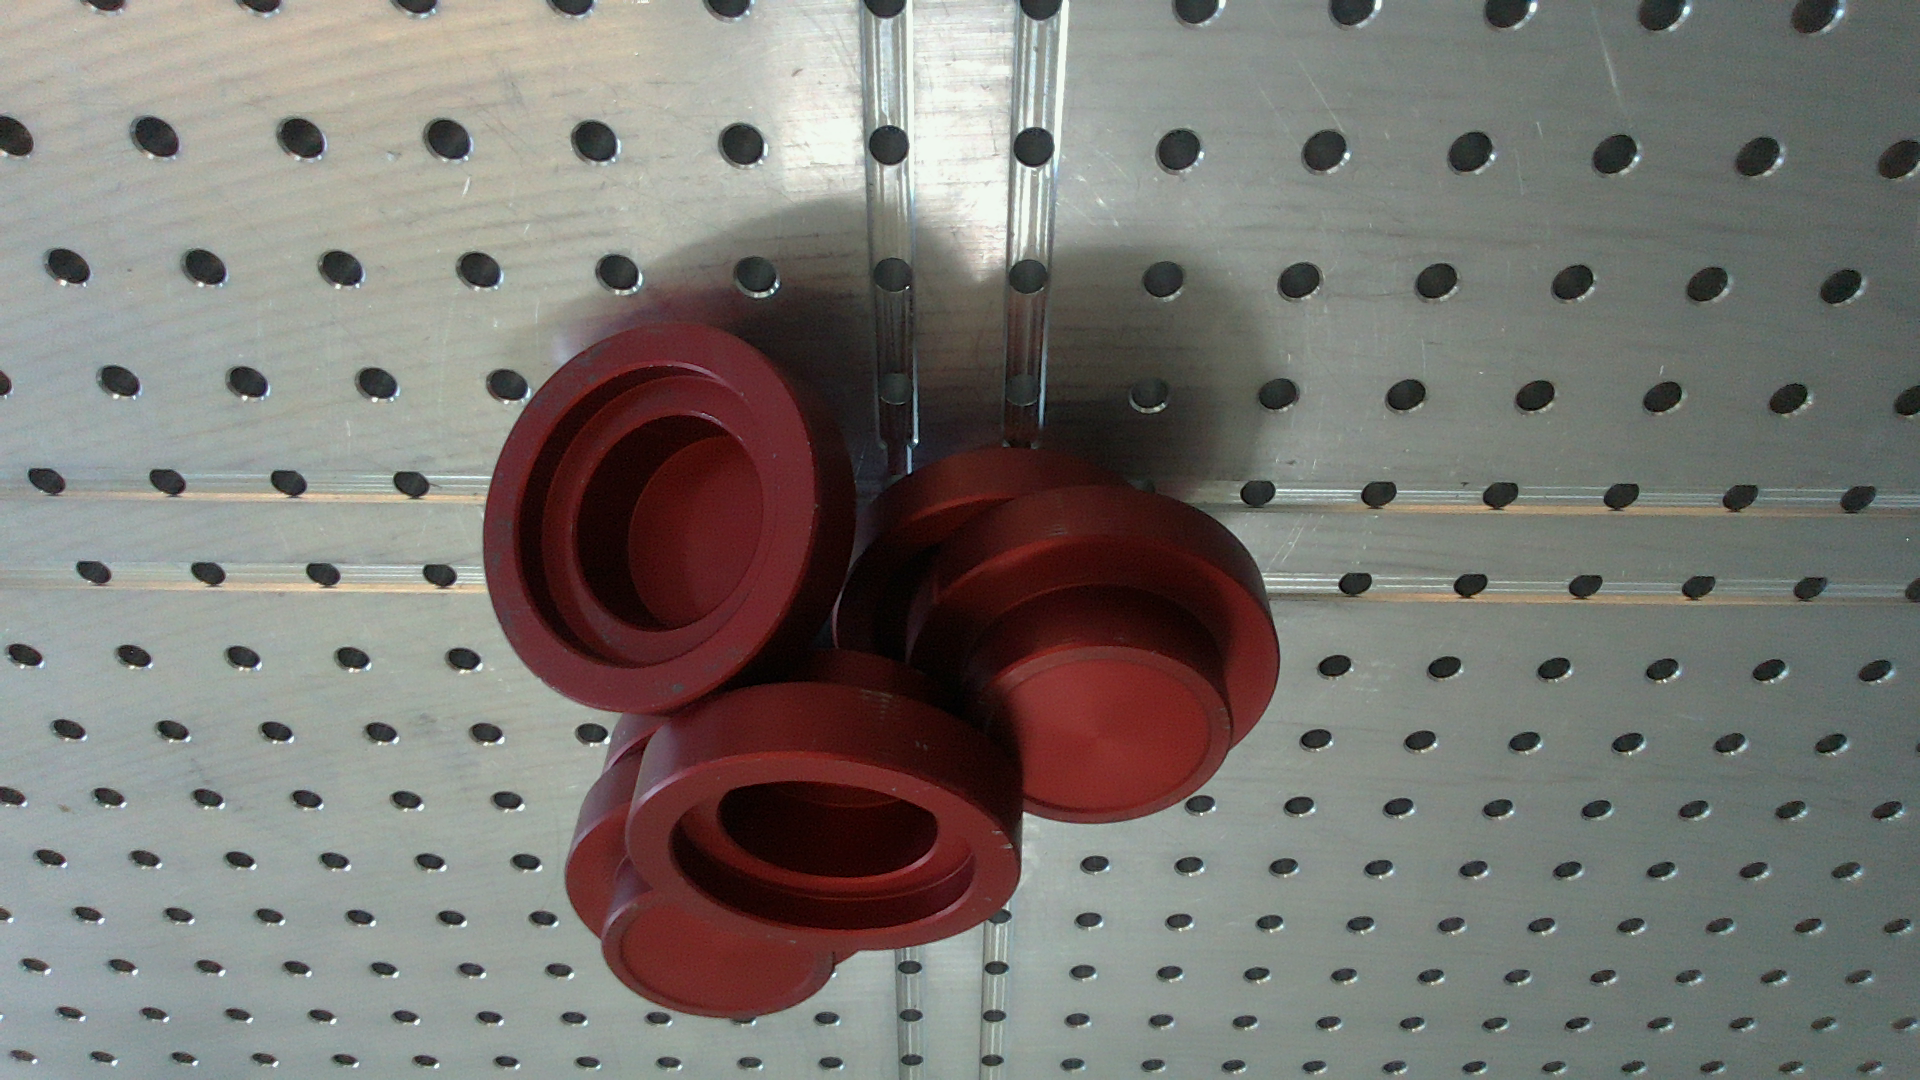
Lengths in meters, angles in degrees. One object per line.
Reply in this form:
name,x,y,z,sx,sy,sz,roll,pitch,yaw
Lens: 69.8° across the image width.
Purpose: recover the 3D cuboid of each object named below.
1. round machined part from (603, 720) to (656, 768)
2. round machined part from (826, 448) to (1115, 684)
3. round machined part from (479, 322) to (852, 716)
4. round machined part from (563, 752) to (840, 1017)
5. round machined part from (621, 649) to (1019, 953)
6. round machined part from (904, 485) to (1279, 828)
round machined part,-0.064,0.087,0.428,0.098,0.042,0.098,0,130,0
round machined part,0.012,0.026,0.377,0.098,0.042,0.098,0,130,0
round machined part,-0.071,-0.003,0.355,0.098,0.098,0.042,-22,162,17
round machined part,-0.071,0.108,0.417,0.098,0.042,0.098,0,130,0
round machined part,-0.033,0.065,0.353,0.098,0.042,0.098,2,138,2
round machined part,0.034,0.037,0.357,0.098,0.042,0.098,0,129,0
